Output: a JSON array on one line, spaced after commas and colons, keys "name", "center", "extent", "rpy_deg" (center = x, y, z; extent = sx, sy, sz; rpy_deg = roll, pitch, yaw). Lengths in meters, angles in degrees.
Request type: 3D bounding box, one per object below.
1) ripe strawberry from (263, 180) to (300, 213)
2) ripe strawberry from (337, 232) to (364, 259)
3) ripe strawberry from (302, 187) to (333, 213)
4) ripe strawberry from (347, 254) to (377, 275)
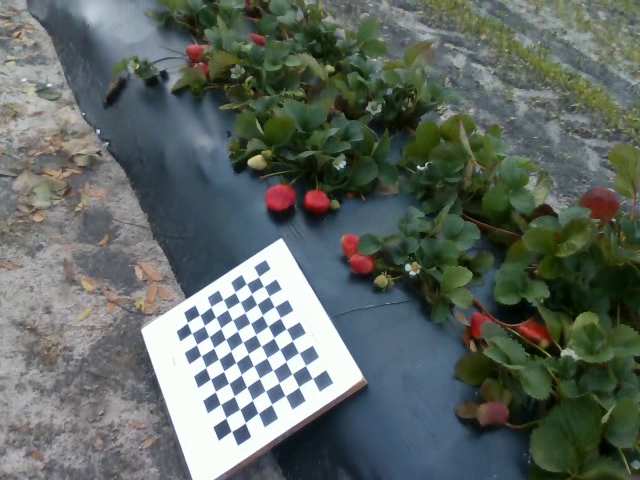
[{"name": "ripe strawberry", "center": [-0.076, -0.070, 1.083], "extent": [0.058, 0.065, 0.044], "rpy_deg": [-13, -50, 23]}, {"name": "ripe strawberry", "center": [0.052, 0.011, 1.009], "extent": [0.053, 0.047, 0.039], "rpy_deg": [35, -6, 3]}, {"name": "ripe strawberry", "center": [-0.010, -0.067, 1.083], "extent": [0.050, 0.051, 0.059], "rpy_deg": [-18, 6, 20]}, {"name": "ripe strawberry", "center": [0.064, 0.035, 0.974], "extent": [0.049, 0.041, 0.044], "rpy_deg": [11, 30, -45]}]
